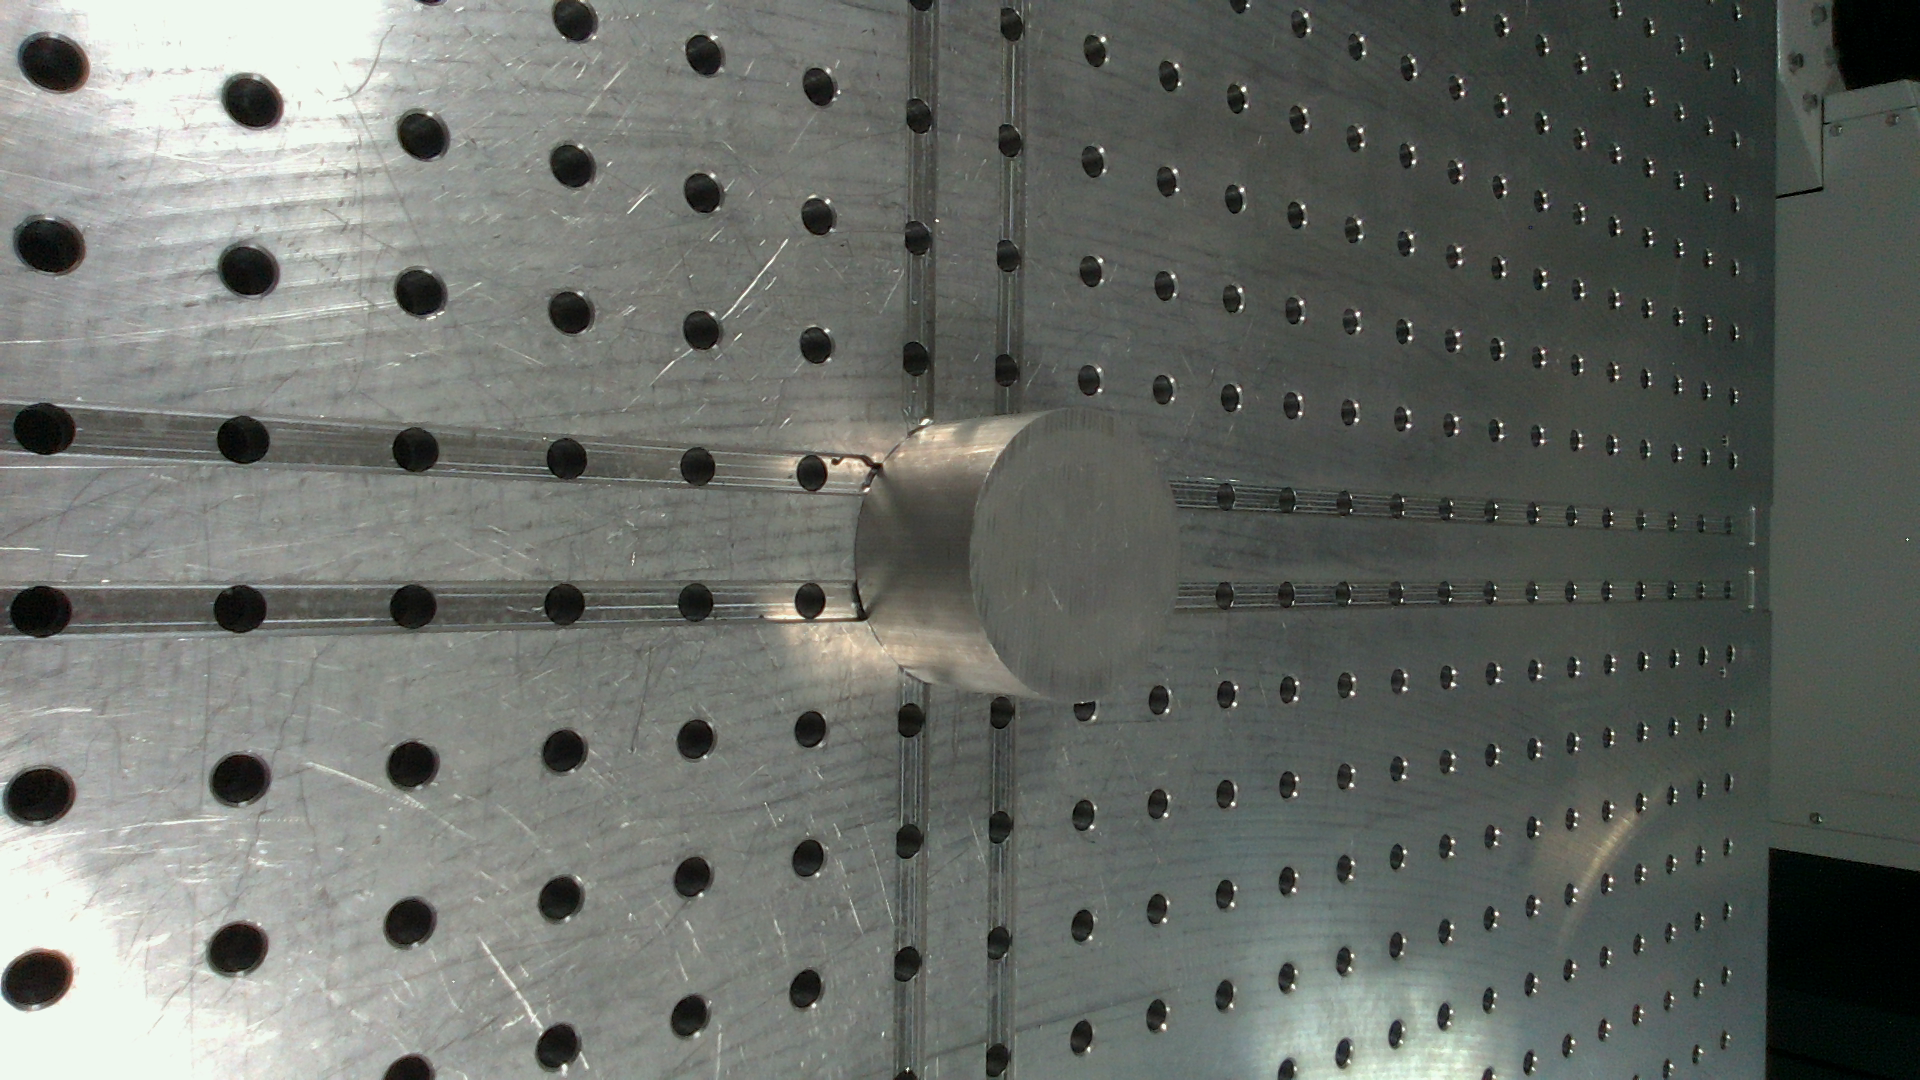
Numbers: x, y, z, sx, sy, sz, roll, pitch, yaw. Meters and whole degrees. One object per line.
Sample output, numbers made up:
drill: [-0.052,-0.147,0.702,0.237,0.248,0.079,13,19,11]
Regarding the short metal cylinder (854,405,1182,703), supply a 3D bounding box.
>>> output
short metal cylinder: [0.017,0.004,0.389,0.080,0.050,0.080,0,90,-40]
